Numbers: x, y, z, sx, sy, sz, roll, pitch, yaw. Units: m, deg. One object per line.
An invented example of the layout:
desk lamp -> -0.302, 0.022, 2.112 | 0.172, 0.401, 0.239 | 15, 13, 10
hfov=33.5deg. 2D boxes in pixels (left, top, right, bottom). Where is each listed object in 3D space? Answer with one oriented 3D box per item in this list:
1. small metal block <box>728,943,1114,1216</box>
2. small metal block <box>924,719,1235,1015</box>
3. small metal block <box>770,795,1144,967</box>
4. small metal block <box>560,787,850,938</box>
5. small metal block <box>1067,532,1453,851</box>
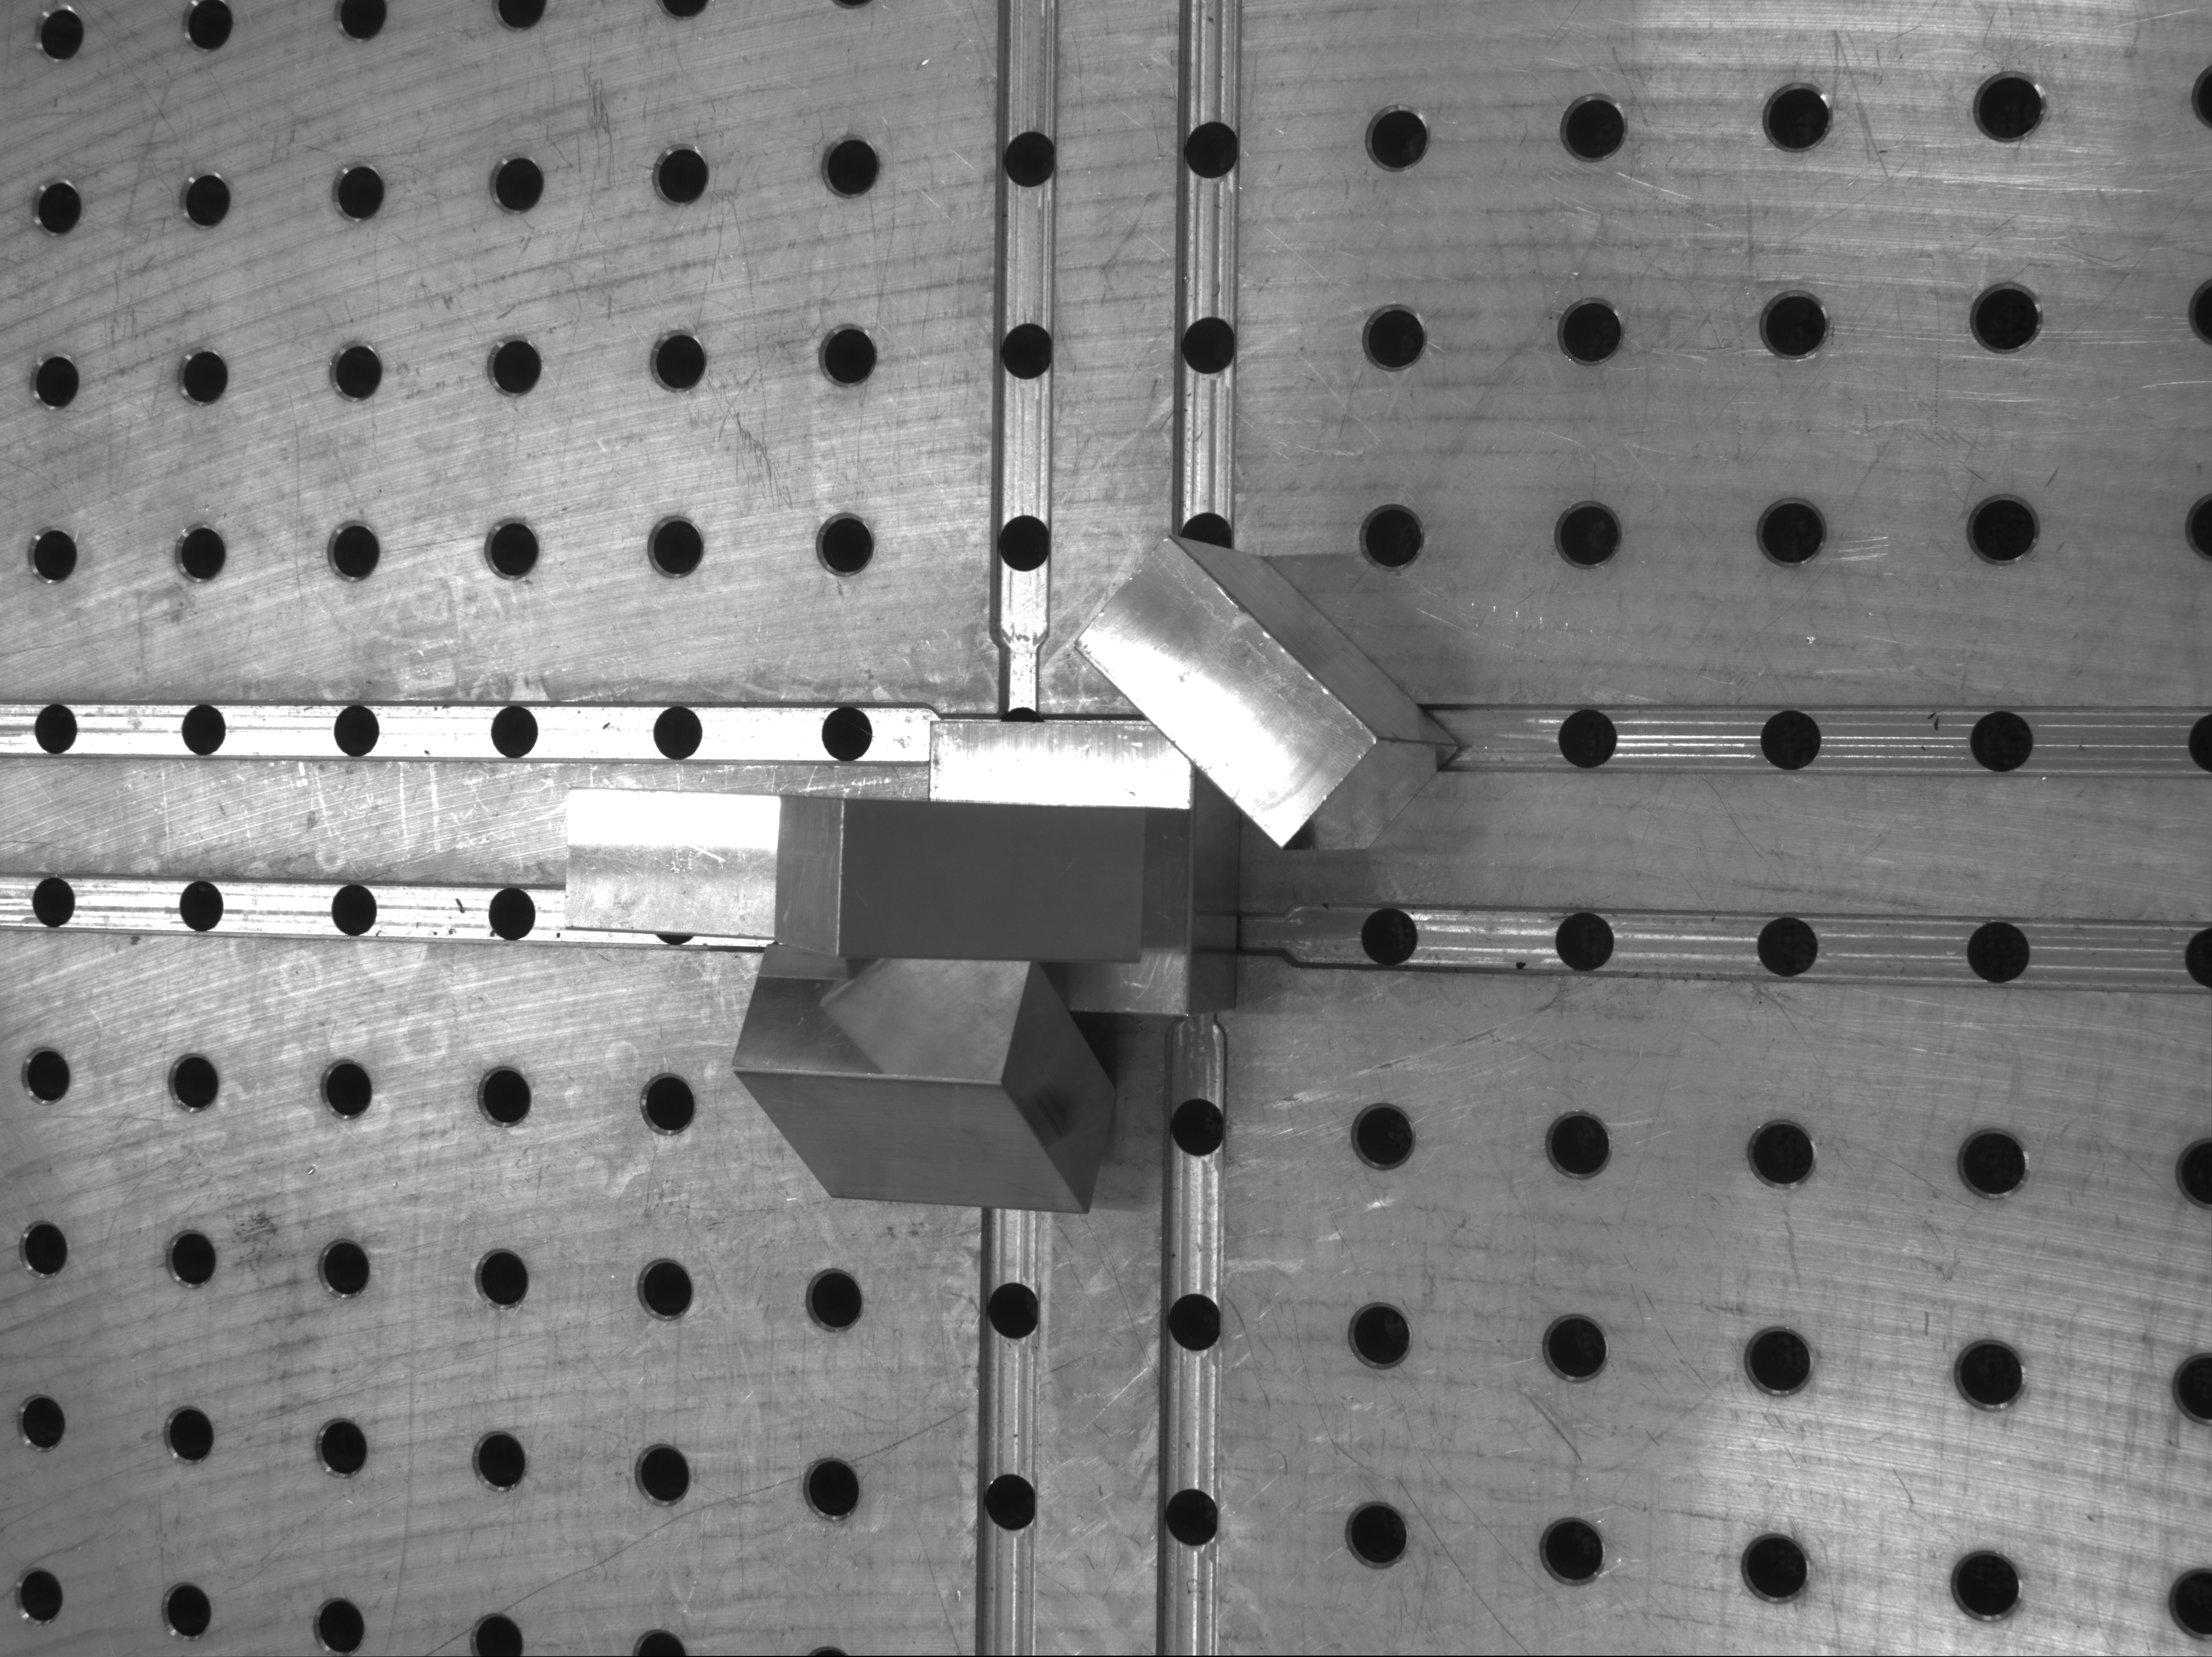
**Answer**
small metal block -> -0.031, 0.044, 0.645 | 0.050, 0.050, 0.025 | 1, 59, 20
small metal block -> -0.005, 0.006, 0.651 | 0.050, 0.025, 0.050 | 2, 90, 19
small metal block -> -0.026, 0.008, 0.608 | 0.050, 0.050, 0.025 | 2, 91, -17
small metal block -> -0.063, 0.006, 0.659 | 0.050, 0.050, 0.025 | 2, 91, 21
small metal block -> 0.027, -0.022, 0.626 | 0.050, 0.050, 0.025 | 45, 103, 14
